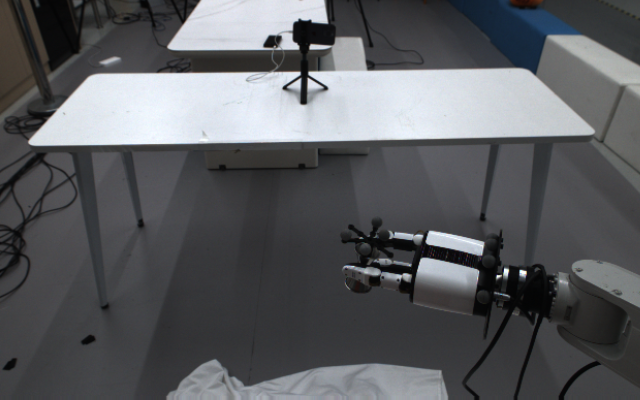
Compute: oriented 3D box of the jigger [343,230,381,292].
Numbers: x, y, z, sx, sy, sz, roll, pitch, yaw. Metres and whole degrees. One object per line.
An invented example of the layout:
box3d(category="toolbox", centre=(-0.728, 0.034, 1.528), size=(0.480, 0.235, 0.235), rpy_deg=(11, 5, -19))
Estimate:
box3d(category="jigger", centre=(0.065, 0.102, 0.743), size=(0.043, 0.071, 0.043), rpy_deg=(9, 30, -5))
